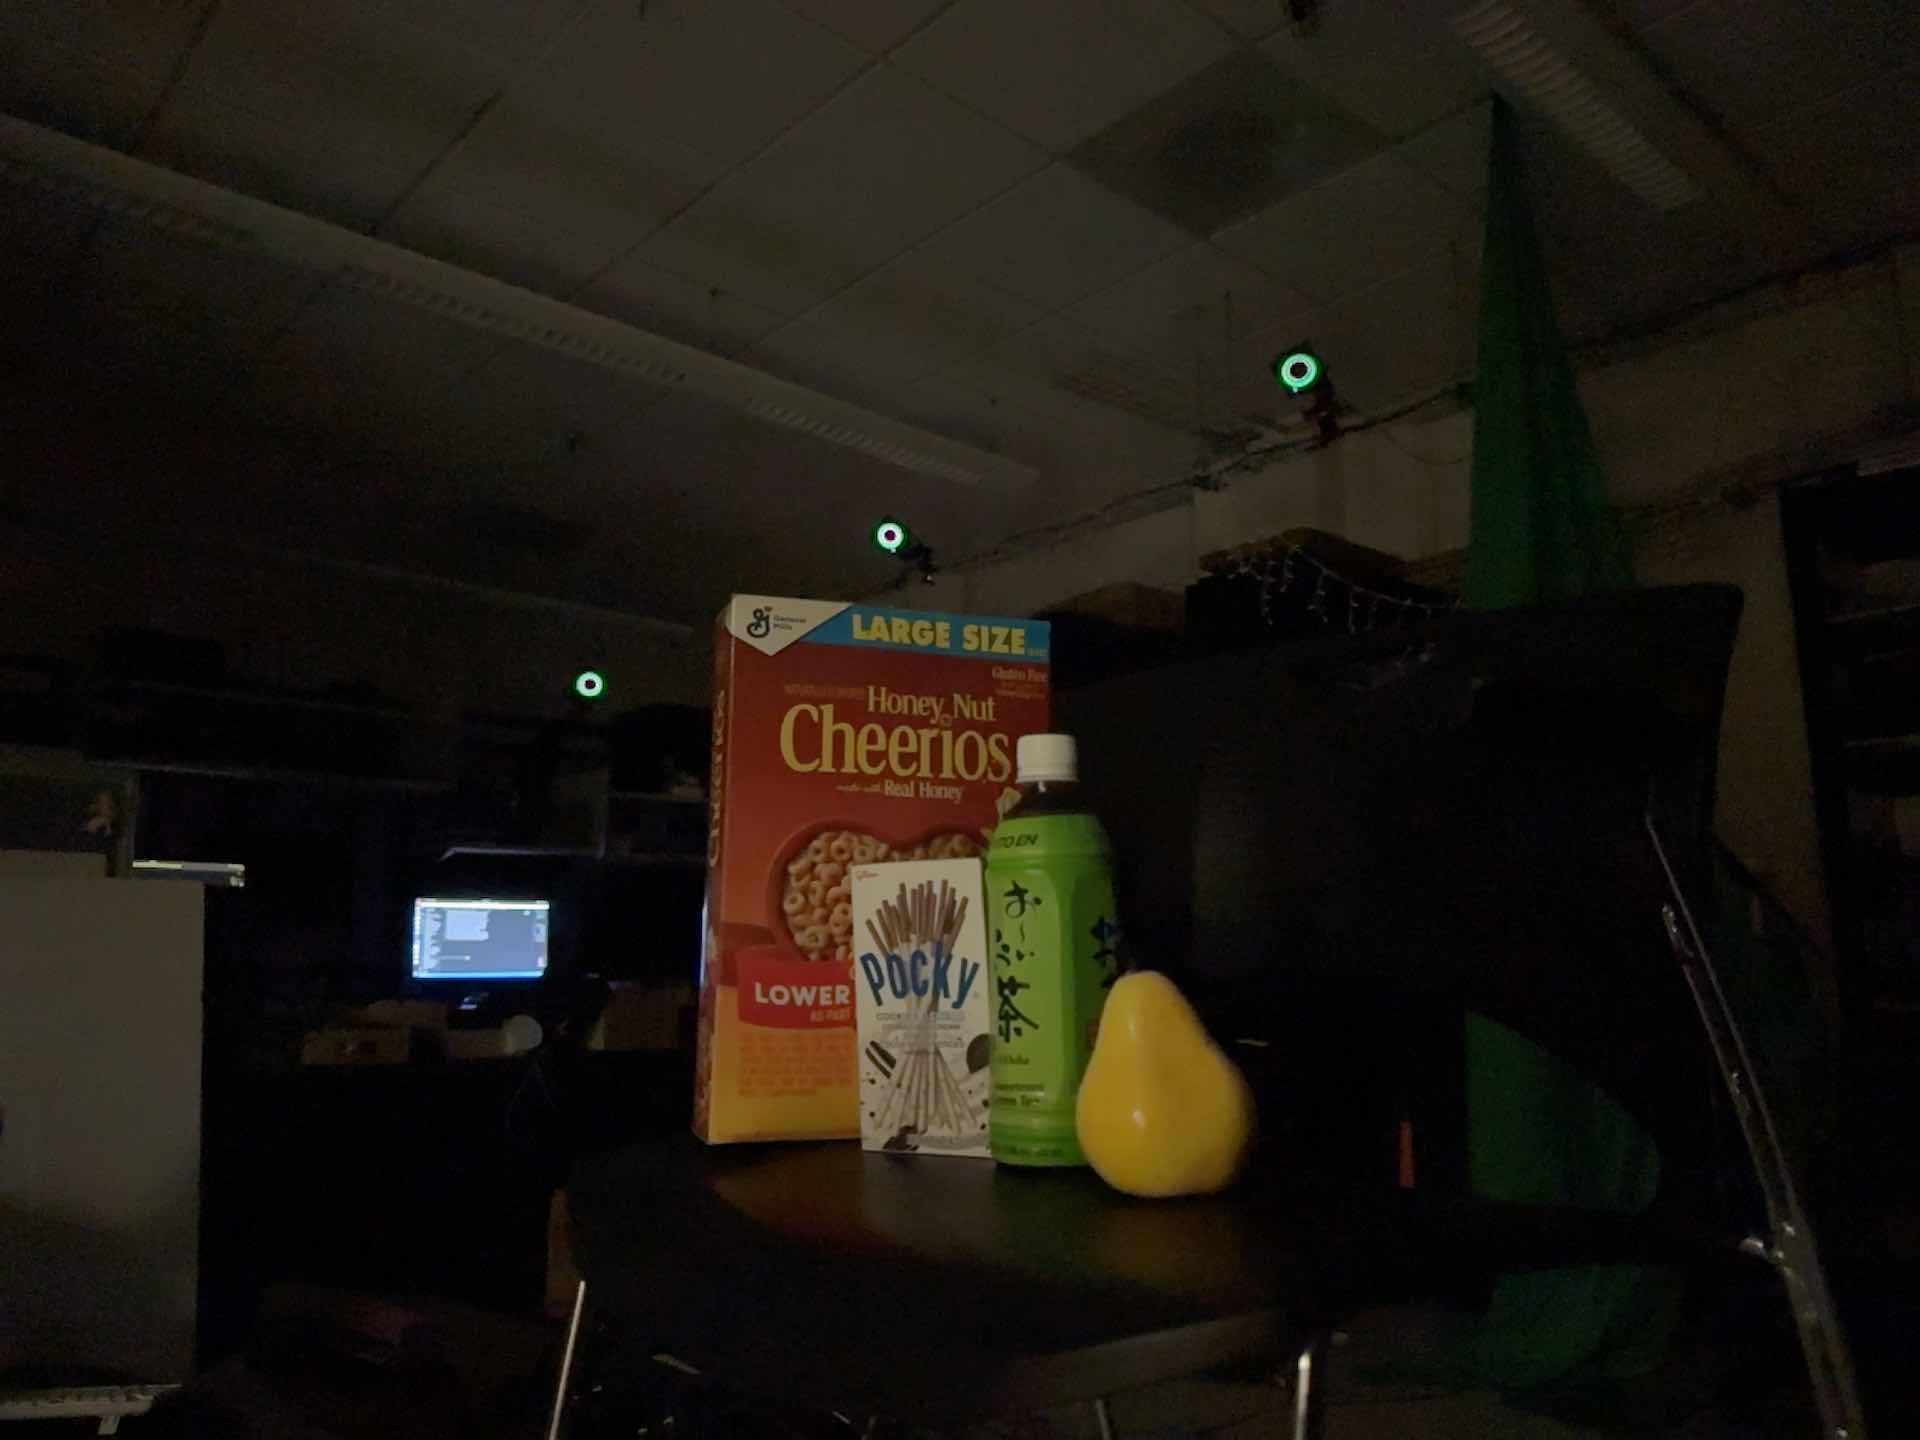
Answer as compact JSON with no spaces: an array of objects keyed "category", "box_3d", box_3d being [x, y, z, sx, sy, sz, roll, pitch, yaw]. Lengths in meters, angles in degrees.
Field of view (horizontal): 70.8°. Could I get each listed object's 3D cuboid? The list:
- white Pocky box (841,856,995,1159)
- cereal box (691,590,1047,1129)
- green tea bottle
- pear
[{"category":"white Pocky box","box_3d":[-0.019,0.152,0.724,0.084,0.154,0.028,-6,-4,29]},{"category":"cereal box","box_3d":[-0.052,0.082,0.815,0.195,0.297,0.065,4,-8,-21]},{"category":"green tea bottle","box_3d":[0.046,0.114,0.686,0.073,0.212,0.073,-3,-10,-1]},{"category":"pear","box_3d":[0.090,0.153,0.602,0.080,0.111,0.080,1,-13,0]}]
